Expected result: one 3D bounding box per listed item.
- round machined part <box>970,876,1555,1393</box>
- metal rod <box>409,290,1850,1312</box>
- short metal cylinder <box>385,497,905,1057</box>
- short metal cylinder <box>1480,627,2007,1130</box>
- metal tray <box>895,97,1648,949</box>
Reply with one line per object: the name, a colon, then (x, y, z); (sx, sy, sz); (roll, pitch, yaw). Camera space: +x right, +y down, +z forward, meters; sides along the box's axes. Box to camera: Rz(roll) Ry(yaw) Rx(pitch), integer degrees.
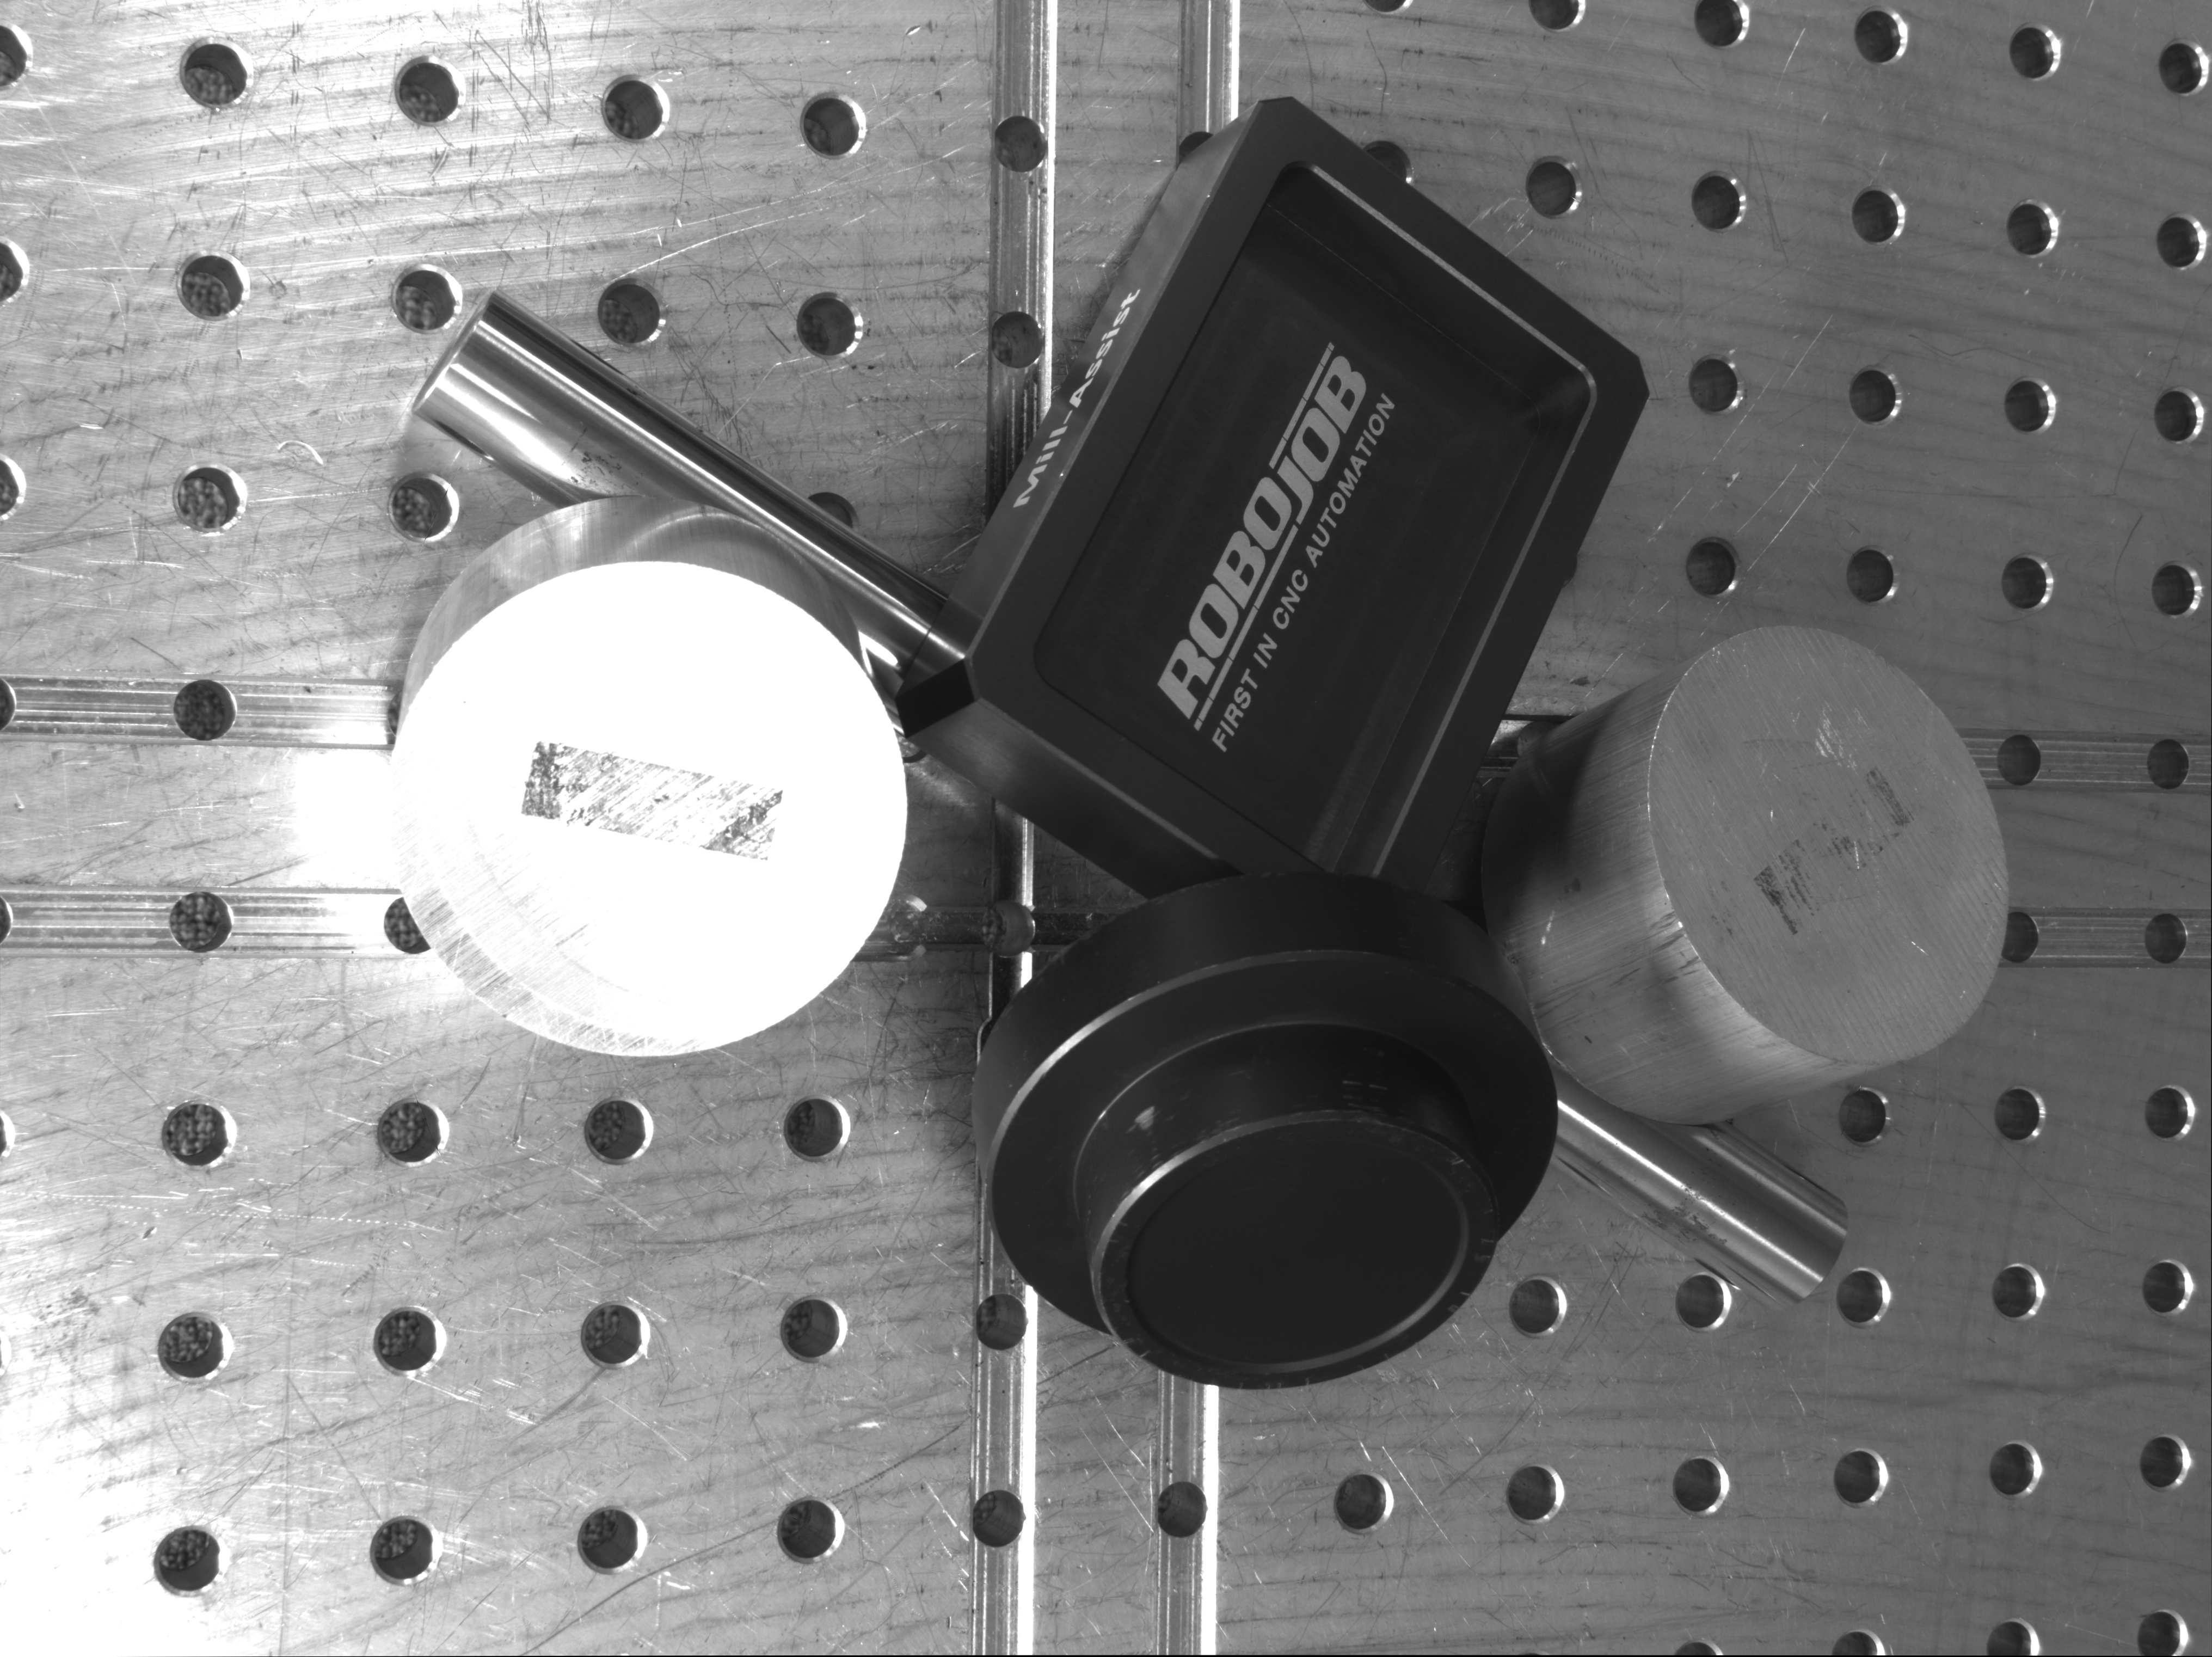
round machined part: (0.028, 0.057, 0.618); (0.098, 0.042, 0.098); (-6, 133, -6)
metal rod: (0.012, 0.001, 0.650); (0.301, 0.025, 0.025); (33, 79, -17)
short metal cylinder: (-0.075, -0.009, 0.592); (0.080, 0.050, 0.080); (-3, 107, -9)
short metal cylinder: (0.115, 0.010, 0.661); (0.080, 0.050, 0.080); (11, 68, -28)
metal tray: (0.031, -0.050, 0.639); (0.090, 0.030, 0.130); (34, 66, -17)
